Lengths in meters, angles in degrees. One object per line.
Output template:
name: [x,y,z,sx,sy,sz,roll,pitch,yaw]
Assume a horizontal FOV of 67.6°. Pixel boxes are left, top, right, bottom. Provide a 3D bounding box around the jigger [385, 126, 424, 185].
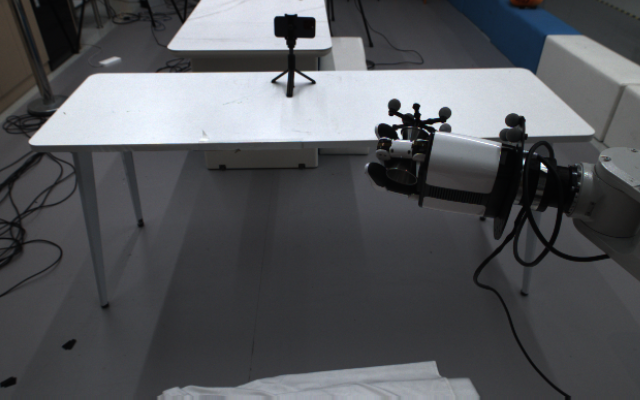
jigger: [0.122,-0.061,0.652,0.043,0.043,0.071,13,69,15]
